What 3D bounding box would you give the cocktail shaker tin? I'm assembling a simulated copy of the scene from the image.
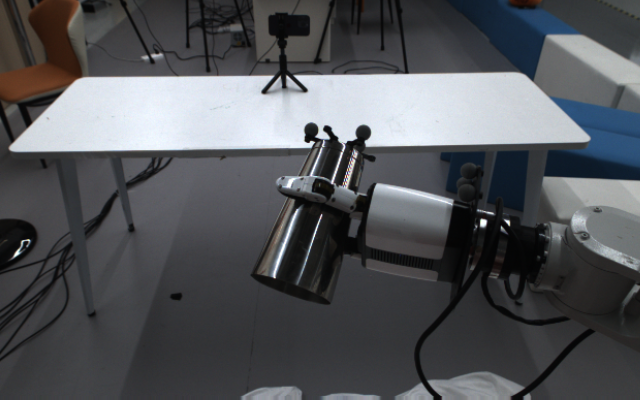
[{"bbox_3d":[-0.005,0.021,0.545,0.093,0.093,0.170,14,69,16],"label":"cocktail shaker tin"}]
